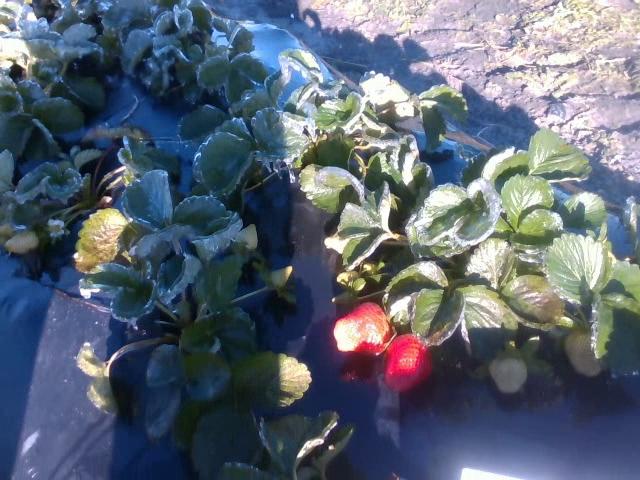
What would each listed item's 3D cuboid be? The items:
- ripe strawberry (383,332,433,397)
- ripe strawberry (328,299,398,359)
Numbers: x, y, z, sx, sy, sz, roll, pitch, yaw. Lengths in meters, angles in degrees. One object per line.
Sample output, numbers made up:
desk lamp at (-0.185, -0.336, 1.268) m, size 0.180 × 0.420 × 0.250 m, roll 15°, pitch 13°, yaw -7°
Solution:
ripe strawberry at (0.077, 0.110, 0.564) m, size 0.043 × 0.059 × 0.040 m, roll 5°, pitch -35°, yaw 20°
ripe strawberry at (0.040, 0.092, 0.599) m, size 0.069 × 0.053 × 0.040 m, roll -28°, pitch -29°, yaw -10°
